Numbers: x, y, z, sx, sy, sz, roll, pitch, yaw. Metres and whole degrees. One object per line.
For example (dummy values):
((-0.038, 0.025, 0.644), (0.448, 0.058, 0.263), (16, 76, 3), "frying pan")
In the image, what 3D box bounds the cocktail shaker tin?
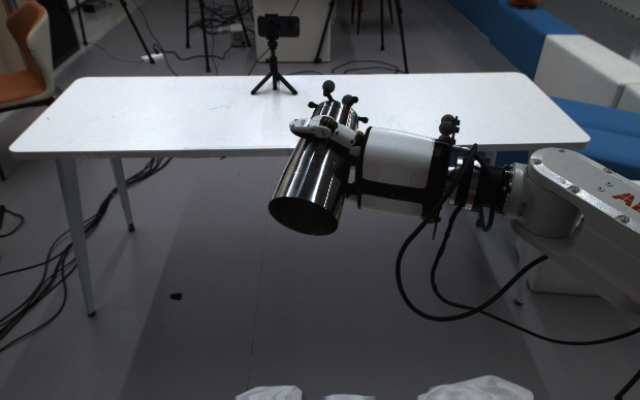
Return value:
((0.002, -0.048, 0.644), (0.093, 0.093, 0.170), (11, 60, 12), "cocktail shaker tin")
